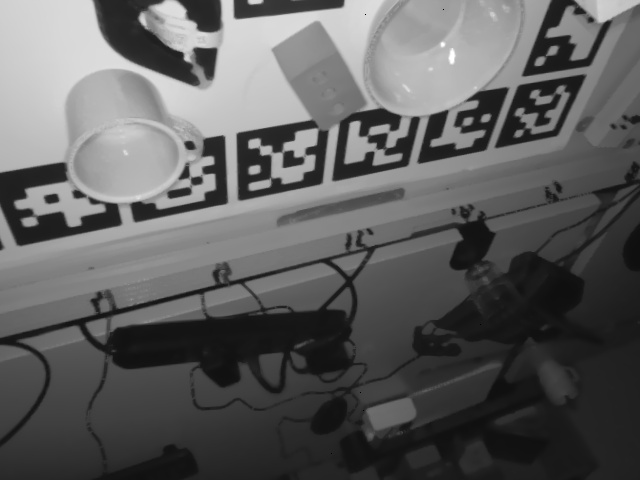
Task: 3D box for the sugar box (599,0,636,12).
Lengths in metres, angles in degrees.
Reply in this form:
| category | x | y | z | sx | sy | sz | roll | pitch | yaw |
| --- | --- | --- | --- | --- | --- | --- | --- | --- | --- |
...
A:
| category | x | y | z | sx | sy | sz | roll | pitch | yaw |
| --- | --- | --- | --- | --- | --- | --- | --- | --- | --- |
| sugar box | 0.209 | -0.252 | 0.519 | 0.092 | 0.176 | 0.045 | -27 | 142 | 6 |

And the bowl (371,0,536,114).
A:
| category | x | y | z | sx | sy | sz | roll | pitch | yaw |
| --- | --- | --- | --- | --- | --- | --- | --- | --- | --- |
| bowl | 0.113 | -0.194 | 0.634 | 0.163 | 0.055 | 0.160 | -16 | 142 | -11 |

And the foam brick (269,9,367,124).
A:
| category | x | y | z | sx | sy | sz | roll | pitch | yaw |
| --- | --- | --- | --- | --- | --- | --- | --- | --- | --- |
| foam brick | -0.001 | -0.156 | 0.627 | 0.052 | 0.051 | 0.078 | -31 | 142 | 6 |

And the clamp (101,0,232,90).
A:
| category | x | y | z | sx | sy | sz | roll | pitch | yaw |
| --- | --- | --- | --- | --- | --- | --- | --- | --- | --- |
| clamp | -0.124 | -0.187 | 0.510 | 0.165 | 0.036 | 0.203 | -30 | 143 | 2 |

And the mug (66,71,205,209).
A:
| category | x | y | z | sx | sy | sz | roll | pitch | yaw |
| --- | --- | --- | --- | --- | --- | --- | --- | --- | --- |
| mug | -0.155 | -0.085 | 0.586 | 0.119 | 0.081 | 0.092 | 8 | 133 | -32 |
